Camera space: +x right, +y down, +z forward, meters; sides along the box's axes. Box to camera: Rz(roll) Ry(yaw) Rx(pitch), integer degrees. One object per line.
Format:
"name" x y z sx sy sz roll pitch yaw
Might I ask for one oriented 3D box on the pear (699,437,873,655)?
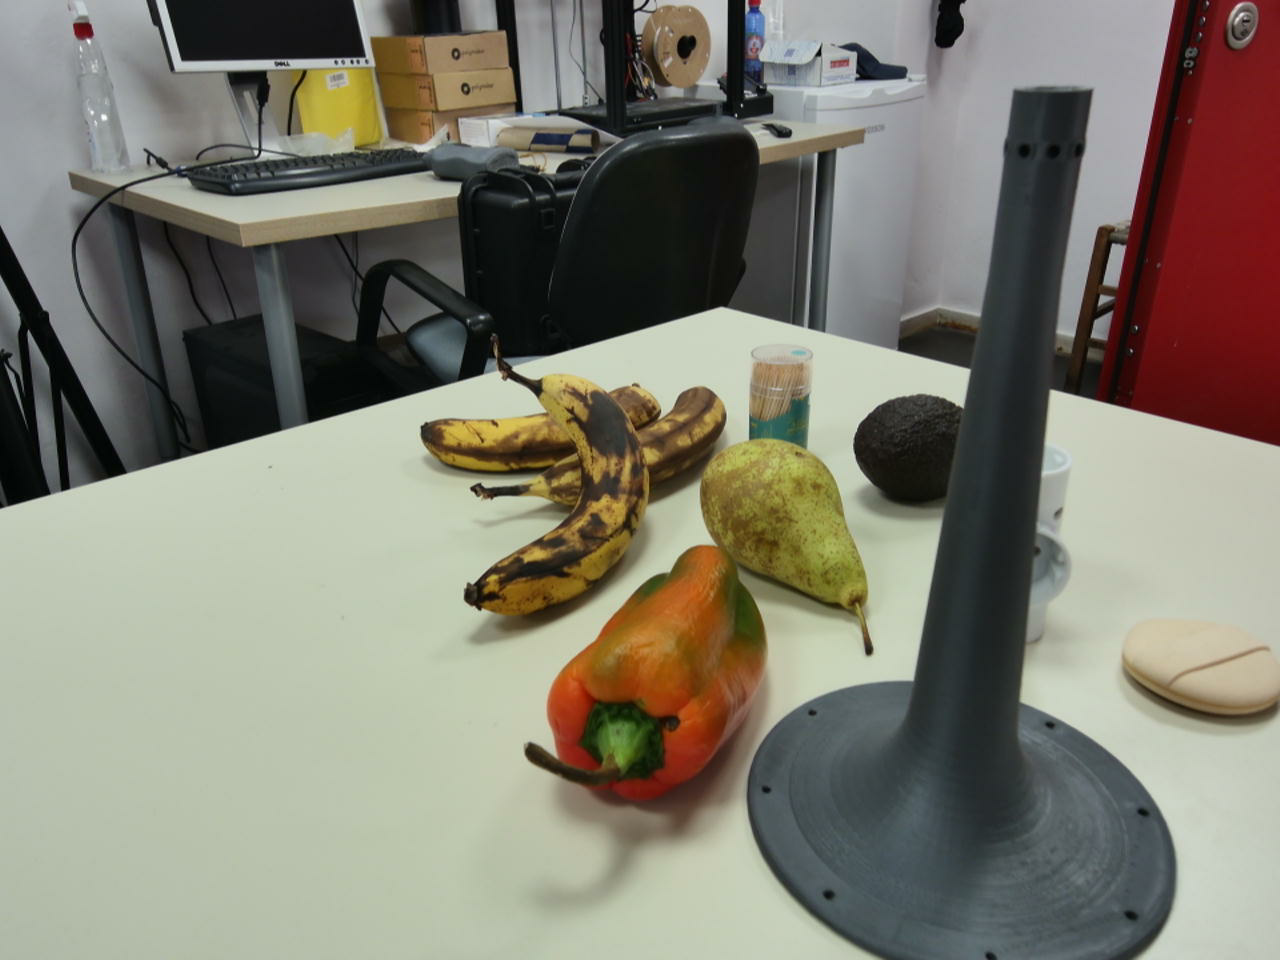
"pear" 0.085 0.022 0.527 0.128 0.075 0.071 21 30 36
